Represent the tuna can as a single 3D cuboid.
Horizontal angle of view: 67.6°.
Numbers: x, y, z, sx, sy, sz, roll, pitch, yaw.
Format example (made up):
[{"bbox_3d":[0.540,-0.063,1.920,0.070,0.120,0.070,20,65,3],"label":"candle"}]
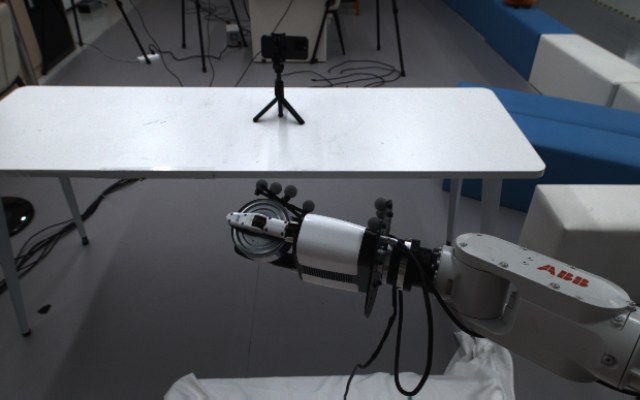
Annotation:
[{"bbox_3d":[-0.077,0.042,0.676,0.085,0.034,0.085,-4,67,10],"label":"tuna can"}]
